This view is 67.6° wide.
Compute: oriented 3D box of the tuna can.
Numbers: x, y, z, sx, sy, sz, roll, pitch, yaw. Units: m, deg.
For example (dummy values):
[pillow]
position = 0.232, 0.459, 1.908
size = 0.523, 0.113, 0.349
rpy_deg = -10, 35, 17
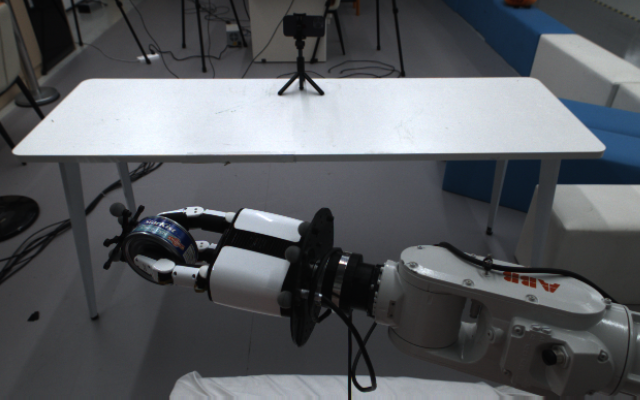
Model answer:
[tuna can]
position = -0.192, 0.065, 0.587
size = 0.085, 0.085, 0.034
rpy_deg = 8, 36, 9
